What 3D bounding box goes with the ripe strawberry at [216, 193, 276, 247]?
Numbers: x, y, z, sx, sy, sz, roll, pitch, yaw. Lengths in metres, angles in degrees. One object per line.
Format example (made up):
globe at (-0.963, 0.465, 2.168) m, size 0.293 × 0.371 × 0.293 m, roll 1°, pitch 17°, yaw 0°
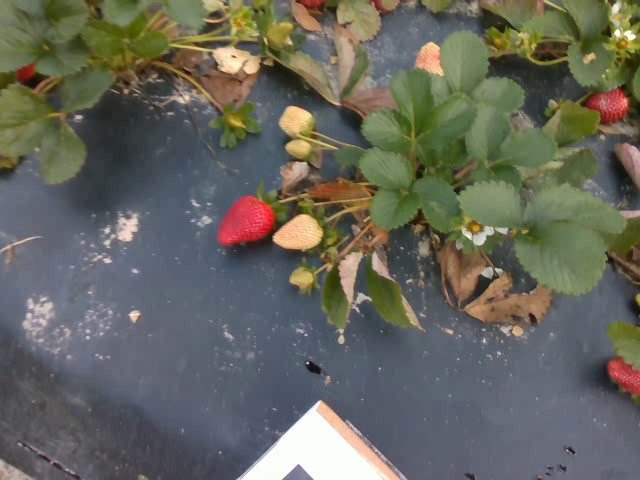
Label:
ripe strawberry at (-0.064, -0.016, 0.530) m, size 0.050 × 0.059 × 0.034 m, roll 34°, pitch -35°, yaw 12°
